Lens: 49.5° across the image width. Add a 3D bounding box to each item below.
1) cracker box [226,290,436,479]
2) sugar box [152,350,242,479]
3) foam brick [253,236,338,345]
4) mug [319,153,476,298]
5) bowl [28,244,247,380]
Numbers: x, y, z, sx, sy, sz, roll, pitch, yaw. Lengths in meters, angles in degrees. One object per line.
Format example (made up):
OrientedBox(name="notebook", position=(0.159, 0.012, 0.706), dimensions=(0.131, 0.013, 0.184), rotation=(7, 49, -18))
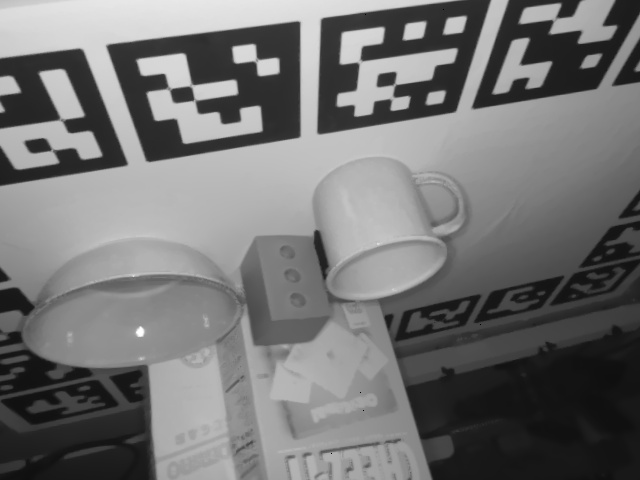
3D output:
OrientedBox(name="cracker box", position=(0.008, 0.155, 0.641), dimensions=(0.166, 0.214, 0.071), rotation=(9, 142, -31))
OrientedBox(name="sugar box", position=(-0.104, 0.169, 0.645), dimensions=(0.094, 0.177, 0.044), rotation=(2, 143, -25))
OrientedBox(name="foam brick", position=(-0.023, 0.044, 0.596), dimensions=(0.053, 0.078, 0.050), rotation=(-2, 145, -21))
OrientedBox(name="mug", position=(0.059, -0.015, 0.526), dimensions=(0.117, 0.081, 0.093), rotation=(-17, 155, -2))
OrientedBox(name="bowl", position=(-0.142, 0.051, 0.550), dimensions=(0.162, 0.055, 0.160), rotation=(-11, 145, -7))
